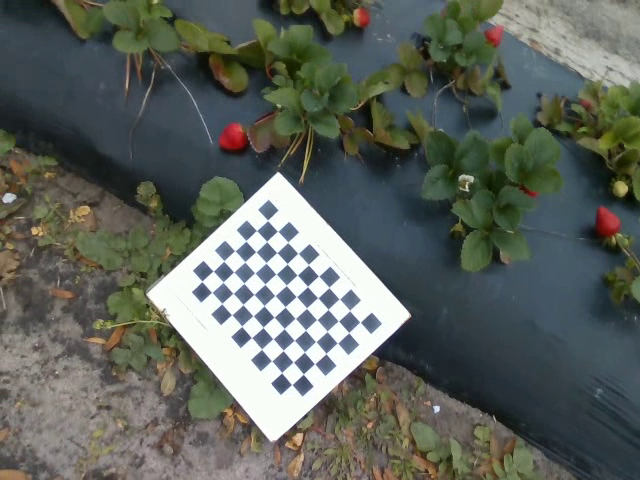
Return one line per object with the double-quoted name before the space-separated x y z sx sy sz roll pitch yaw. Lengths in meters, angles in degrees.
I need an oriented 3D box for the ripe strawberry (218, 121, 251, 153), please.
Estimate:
"ripe strawberry" -0.089 -0.104 0.651 0.032 0.029 0.023 -27 -11 -3
